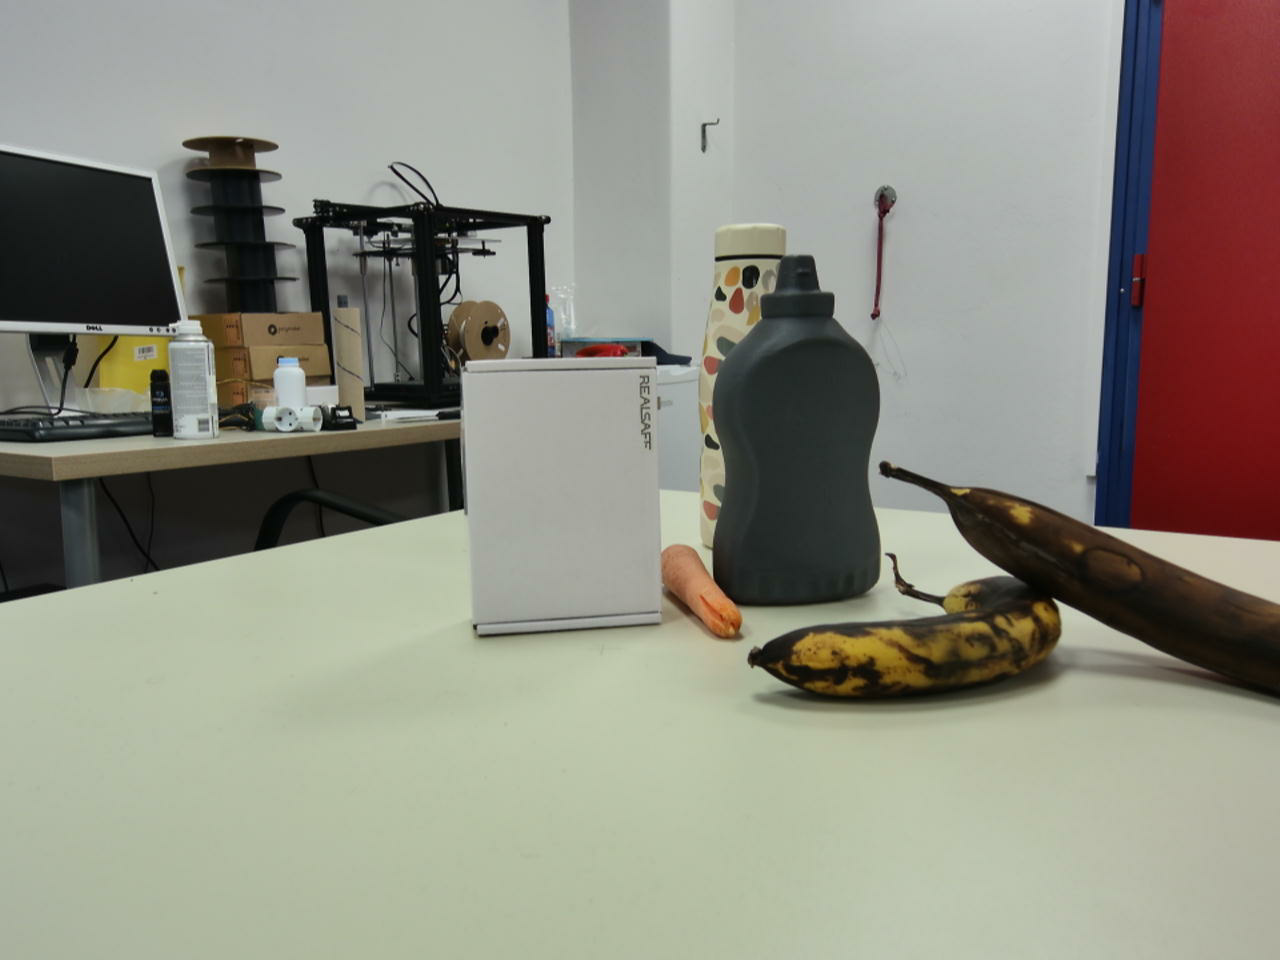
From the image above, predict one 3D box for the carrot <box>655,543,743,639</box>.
[{"bbox_3d":[0.033,0.061,0.583,0.030,0.032,0.136,-1,6,-10],"label":"carrot"}]
